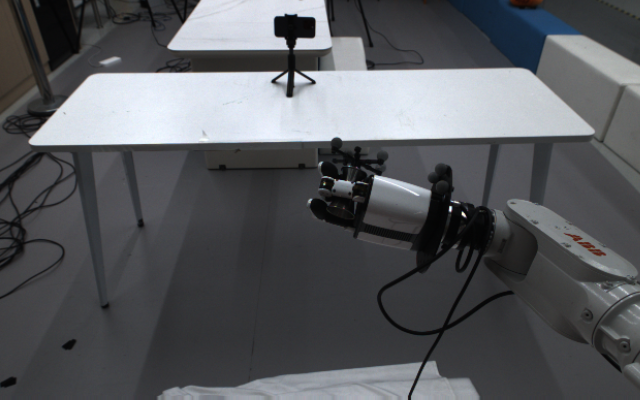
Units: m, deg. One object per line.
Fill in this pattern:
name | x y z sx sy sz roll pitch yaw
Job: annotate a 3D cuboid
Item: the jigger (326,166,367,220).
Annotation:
jigger | 0.042 -0.011 0.704 0.043 0.043 0.071 12 71 14
